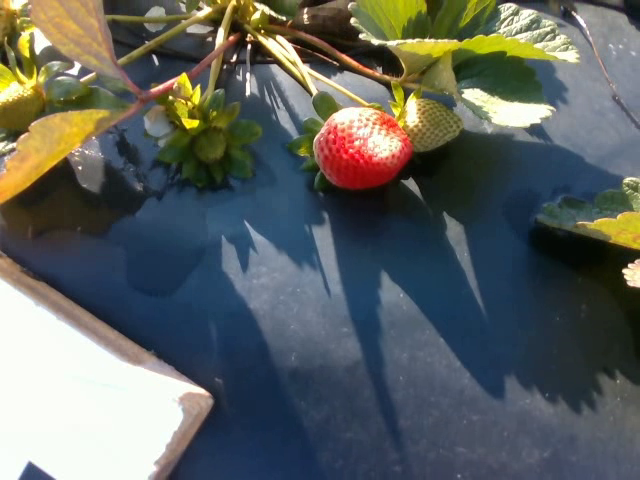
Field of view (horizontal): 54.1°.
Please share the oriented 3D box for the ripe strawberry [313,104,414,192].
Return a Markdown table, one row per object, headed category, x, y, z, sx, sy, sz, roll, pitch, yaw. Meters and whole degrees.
| category | x | y | z | sx | sy | sz | roll | pitch | yaw |
| --- | --- | --- | --- | --- | --- | --- | --- | --- | --- |
| ripe strawberry | 0.017 | -0.029 | 0.205 | 0.042 | 0.037 | 0.045 | 13 | 0 | -18 |
